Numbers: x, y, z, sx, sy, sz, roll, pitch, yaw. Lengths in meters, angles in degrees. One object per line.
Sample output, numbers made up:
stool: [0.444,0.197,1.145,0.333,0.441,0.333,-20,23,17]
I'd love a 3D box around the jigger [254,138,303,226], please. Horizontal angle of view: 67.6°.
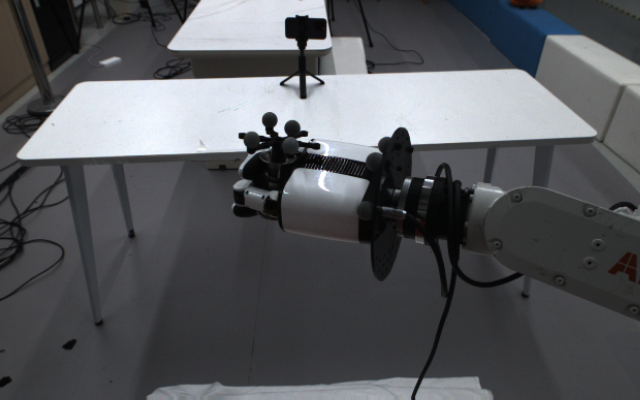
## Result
jigger: [-0.048,-0.018,0.541,0.043,0.071,0.043,5,26,-3]
